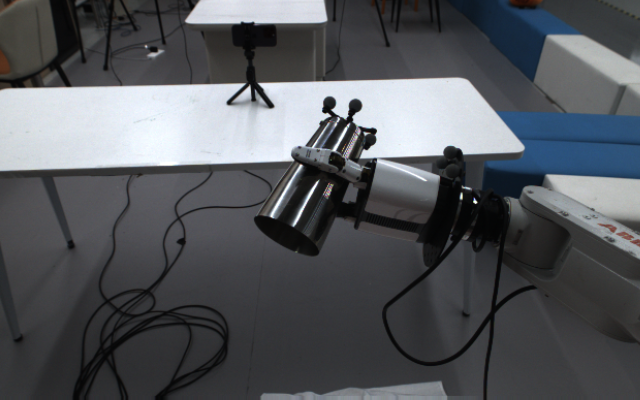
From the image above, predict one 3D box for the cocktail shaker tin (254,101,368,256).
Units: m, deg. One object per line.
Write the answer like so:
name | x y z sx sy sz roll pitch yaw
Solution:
cocktail shaker tin | -0.002 -0.026 0.627 0.093 0.093 0.170 18 66 21
